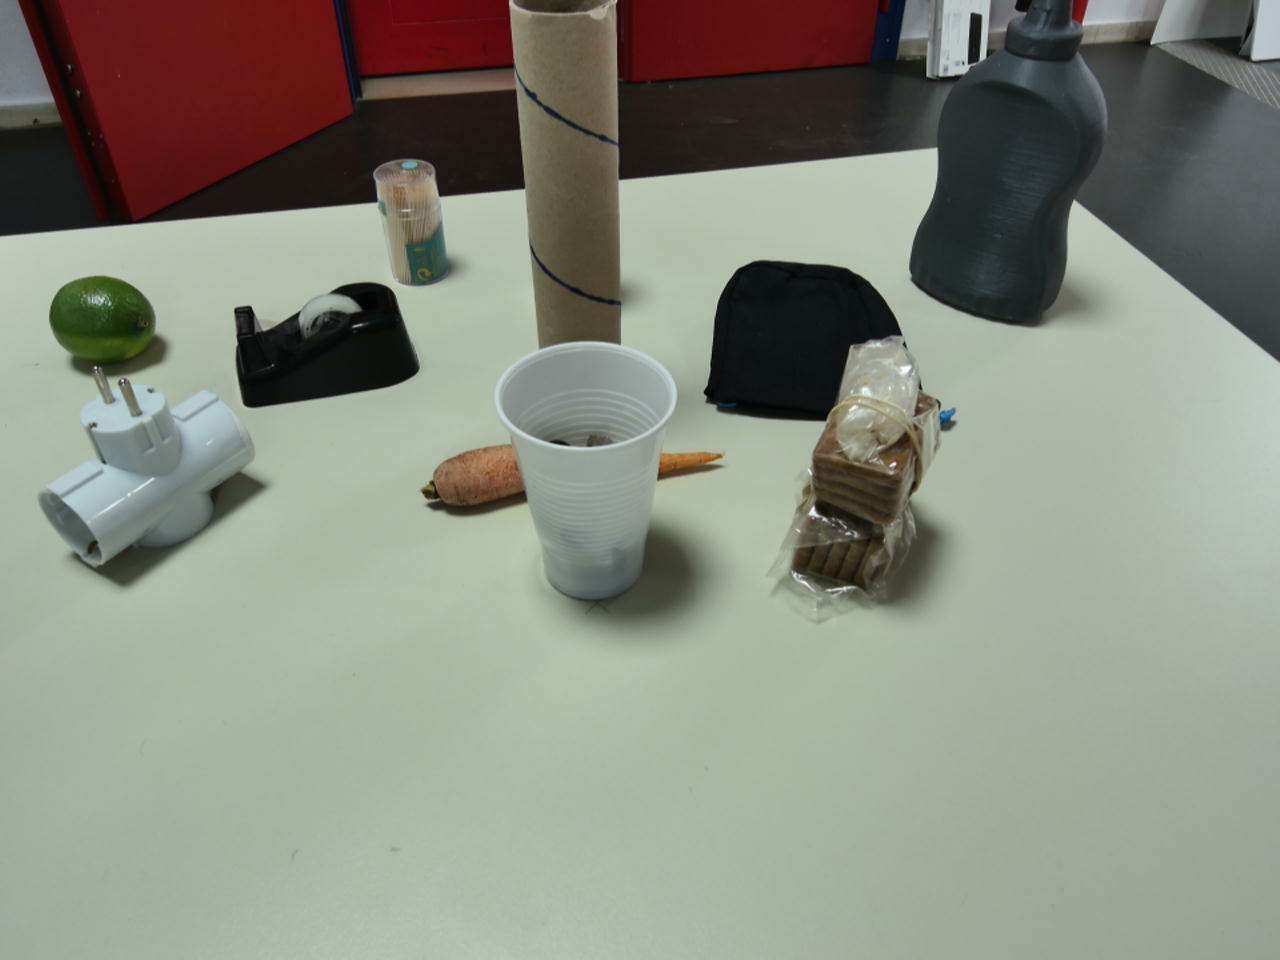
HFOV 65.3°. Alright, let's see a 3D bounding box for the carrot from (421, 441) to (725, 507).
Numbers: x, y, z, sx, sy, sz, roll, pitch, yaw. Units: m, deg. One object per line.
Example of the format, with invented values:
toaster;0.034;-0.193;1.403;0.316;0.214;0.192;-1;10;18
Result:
carrot;-0.036;-0.009;0.541;0.163;0.029;0.031;-8;40;-10
